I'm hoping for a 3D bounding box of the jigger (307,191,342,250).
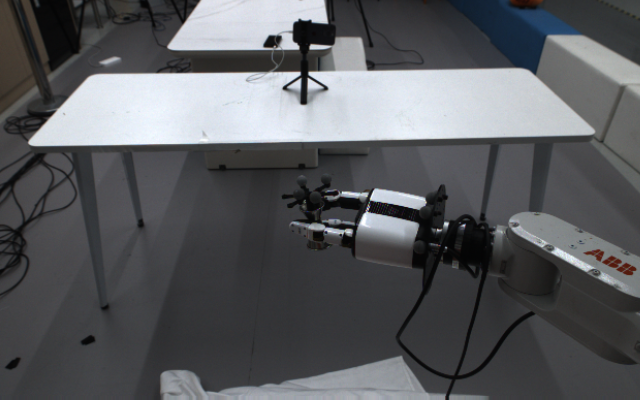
[{"bbox_3d":[-0.004,0.035,0.749,0.043,0.071,0.043,-10,24,5],"label":"jigger"}]
